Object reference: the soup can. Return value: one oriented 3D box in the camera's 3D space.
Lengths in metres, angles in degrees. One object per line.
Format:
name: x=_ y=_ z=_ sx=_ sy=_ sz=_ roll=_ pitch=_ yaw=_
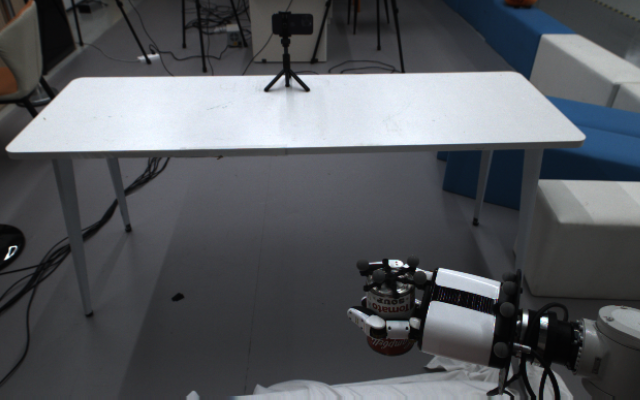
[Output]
soup can: x=0.098 y=0.152 z=0.667 sx=0.067 sy=0.101 sz=0.067 roll=-3 pitch=25 yaw=2
